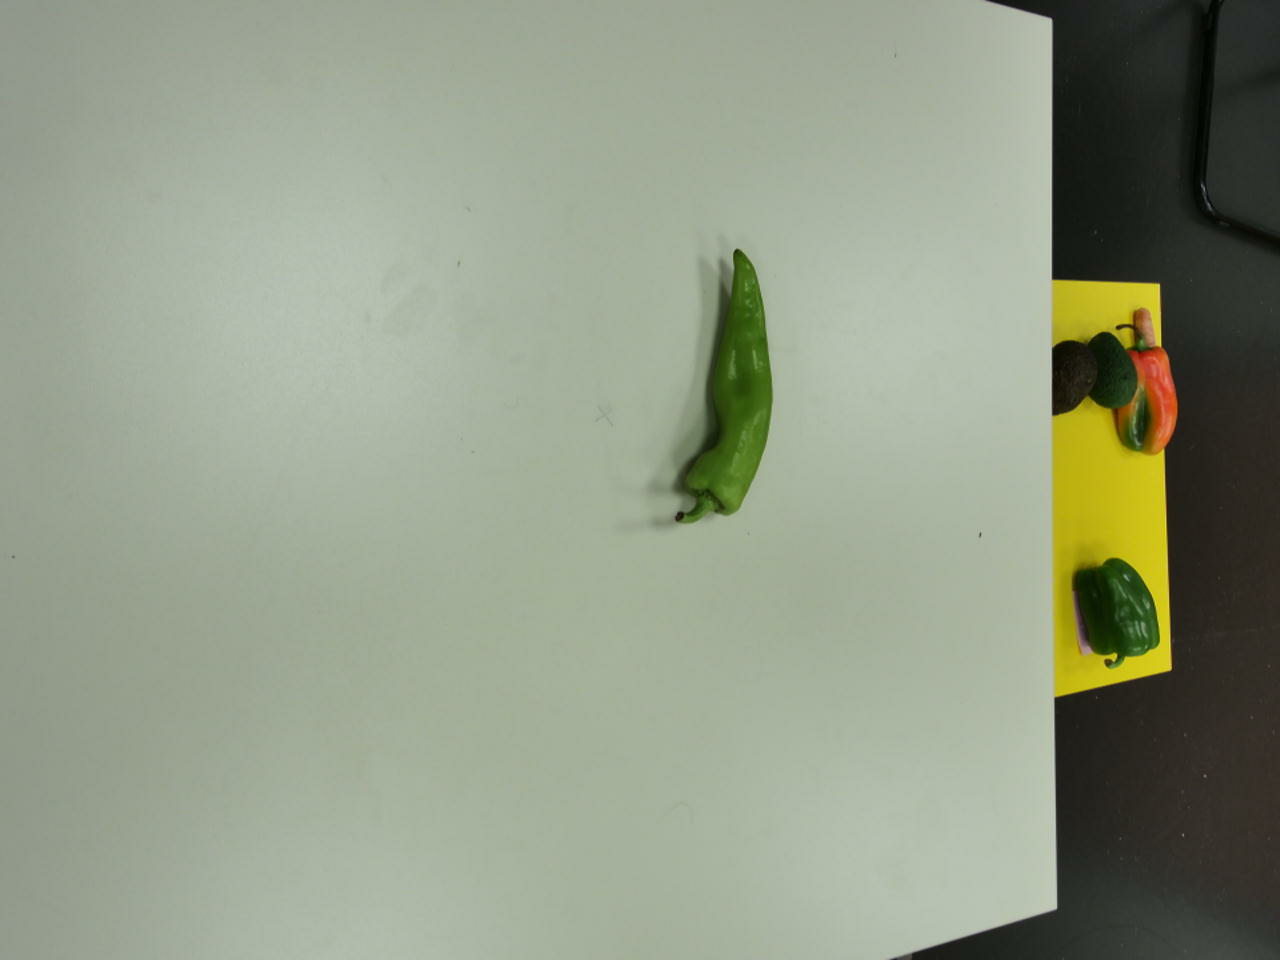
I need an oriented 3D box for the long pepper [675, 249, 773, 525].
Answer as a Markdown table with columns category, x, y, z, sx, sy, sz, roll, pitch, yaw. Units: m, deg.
| category | x | y | z | sx | sy | sz | roll | pitch | yaw |
| --- | --- | --- | --- | --- | --- | --- | --- | --- | --- |
| long pepper | 0.070 | -0.061 | 0.729 | 0.065 | 0.045 | 0.204 | 18 | 82 | -27 |
